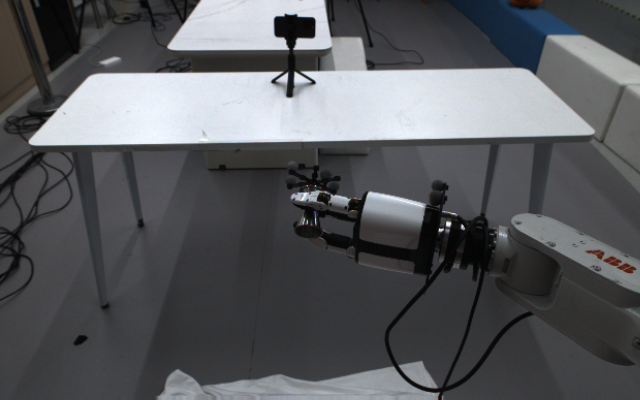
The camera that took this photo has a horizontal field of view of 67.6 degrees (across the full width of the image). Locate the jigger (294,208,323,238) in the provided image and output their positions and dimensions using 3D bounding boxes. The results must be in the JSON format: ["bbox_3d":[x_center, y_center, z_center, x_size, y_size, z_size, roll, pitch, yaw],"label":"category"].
[{"bbox_3d":[-0.015,0.014,0.713,0.043,0.043,0.071,4,60,2],"label":"jigger"}]
